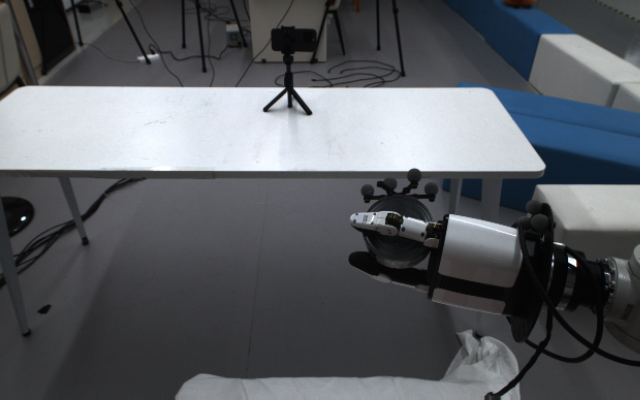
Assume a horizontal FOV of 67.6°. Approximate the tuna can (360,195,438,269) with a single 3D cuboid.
[{"bbox_3d":[0.096,0.038,0.587,0.085,0.034,0.085,-6,61,10],"label":"tuna can"}]
